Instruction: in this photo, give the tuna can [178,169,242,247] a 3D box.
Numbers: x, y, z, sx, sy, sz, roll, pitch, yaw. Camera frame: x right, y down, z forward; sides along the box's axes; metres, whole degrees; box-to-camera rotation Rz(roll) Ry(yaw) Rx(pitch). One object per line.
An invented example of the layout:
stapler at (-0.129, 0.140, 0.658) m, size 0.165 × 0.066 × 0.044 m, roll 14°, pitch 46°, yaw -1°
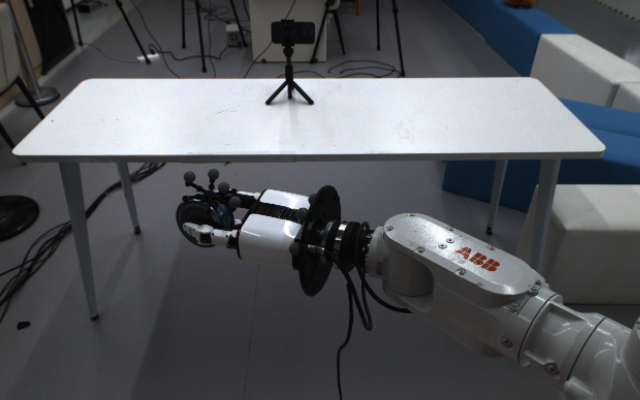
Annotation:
tuna can at (-0.176, 0.031, 0.741) m, size 0.085 × 0.085 × 0.034 m, roll 14°, pitch 30°, yaw 17°
